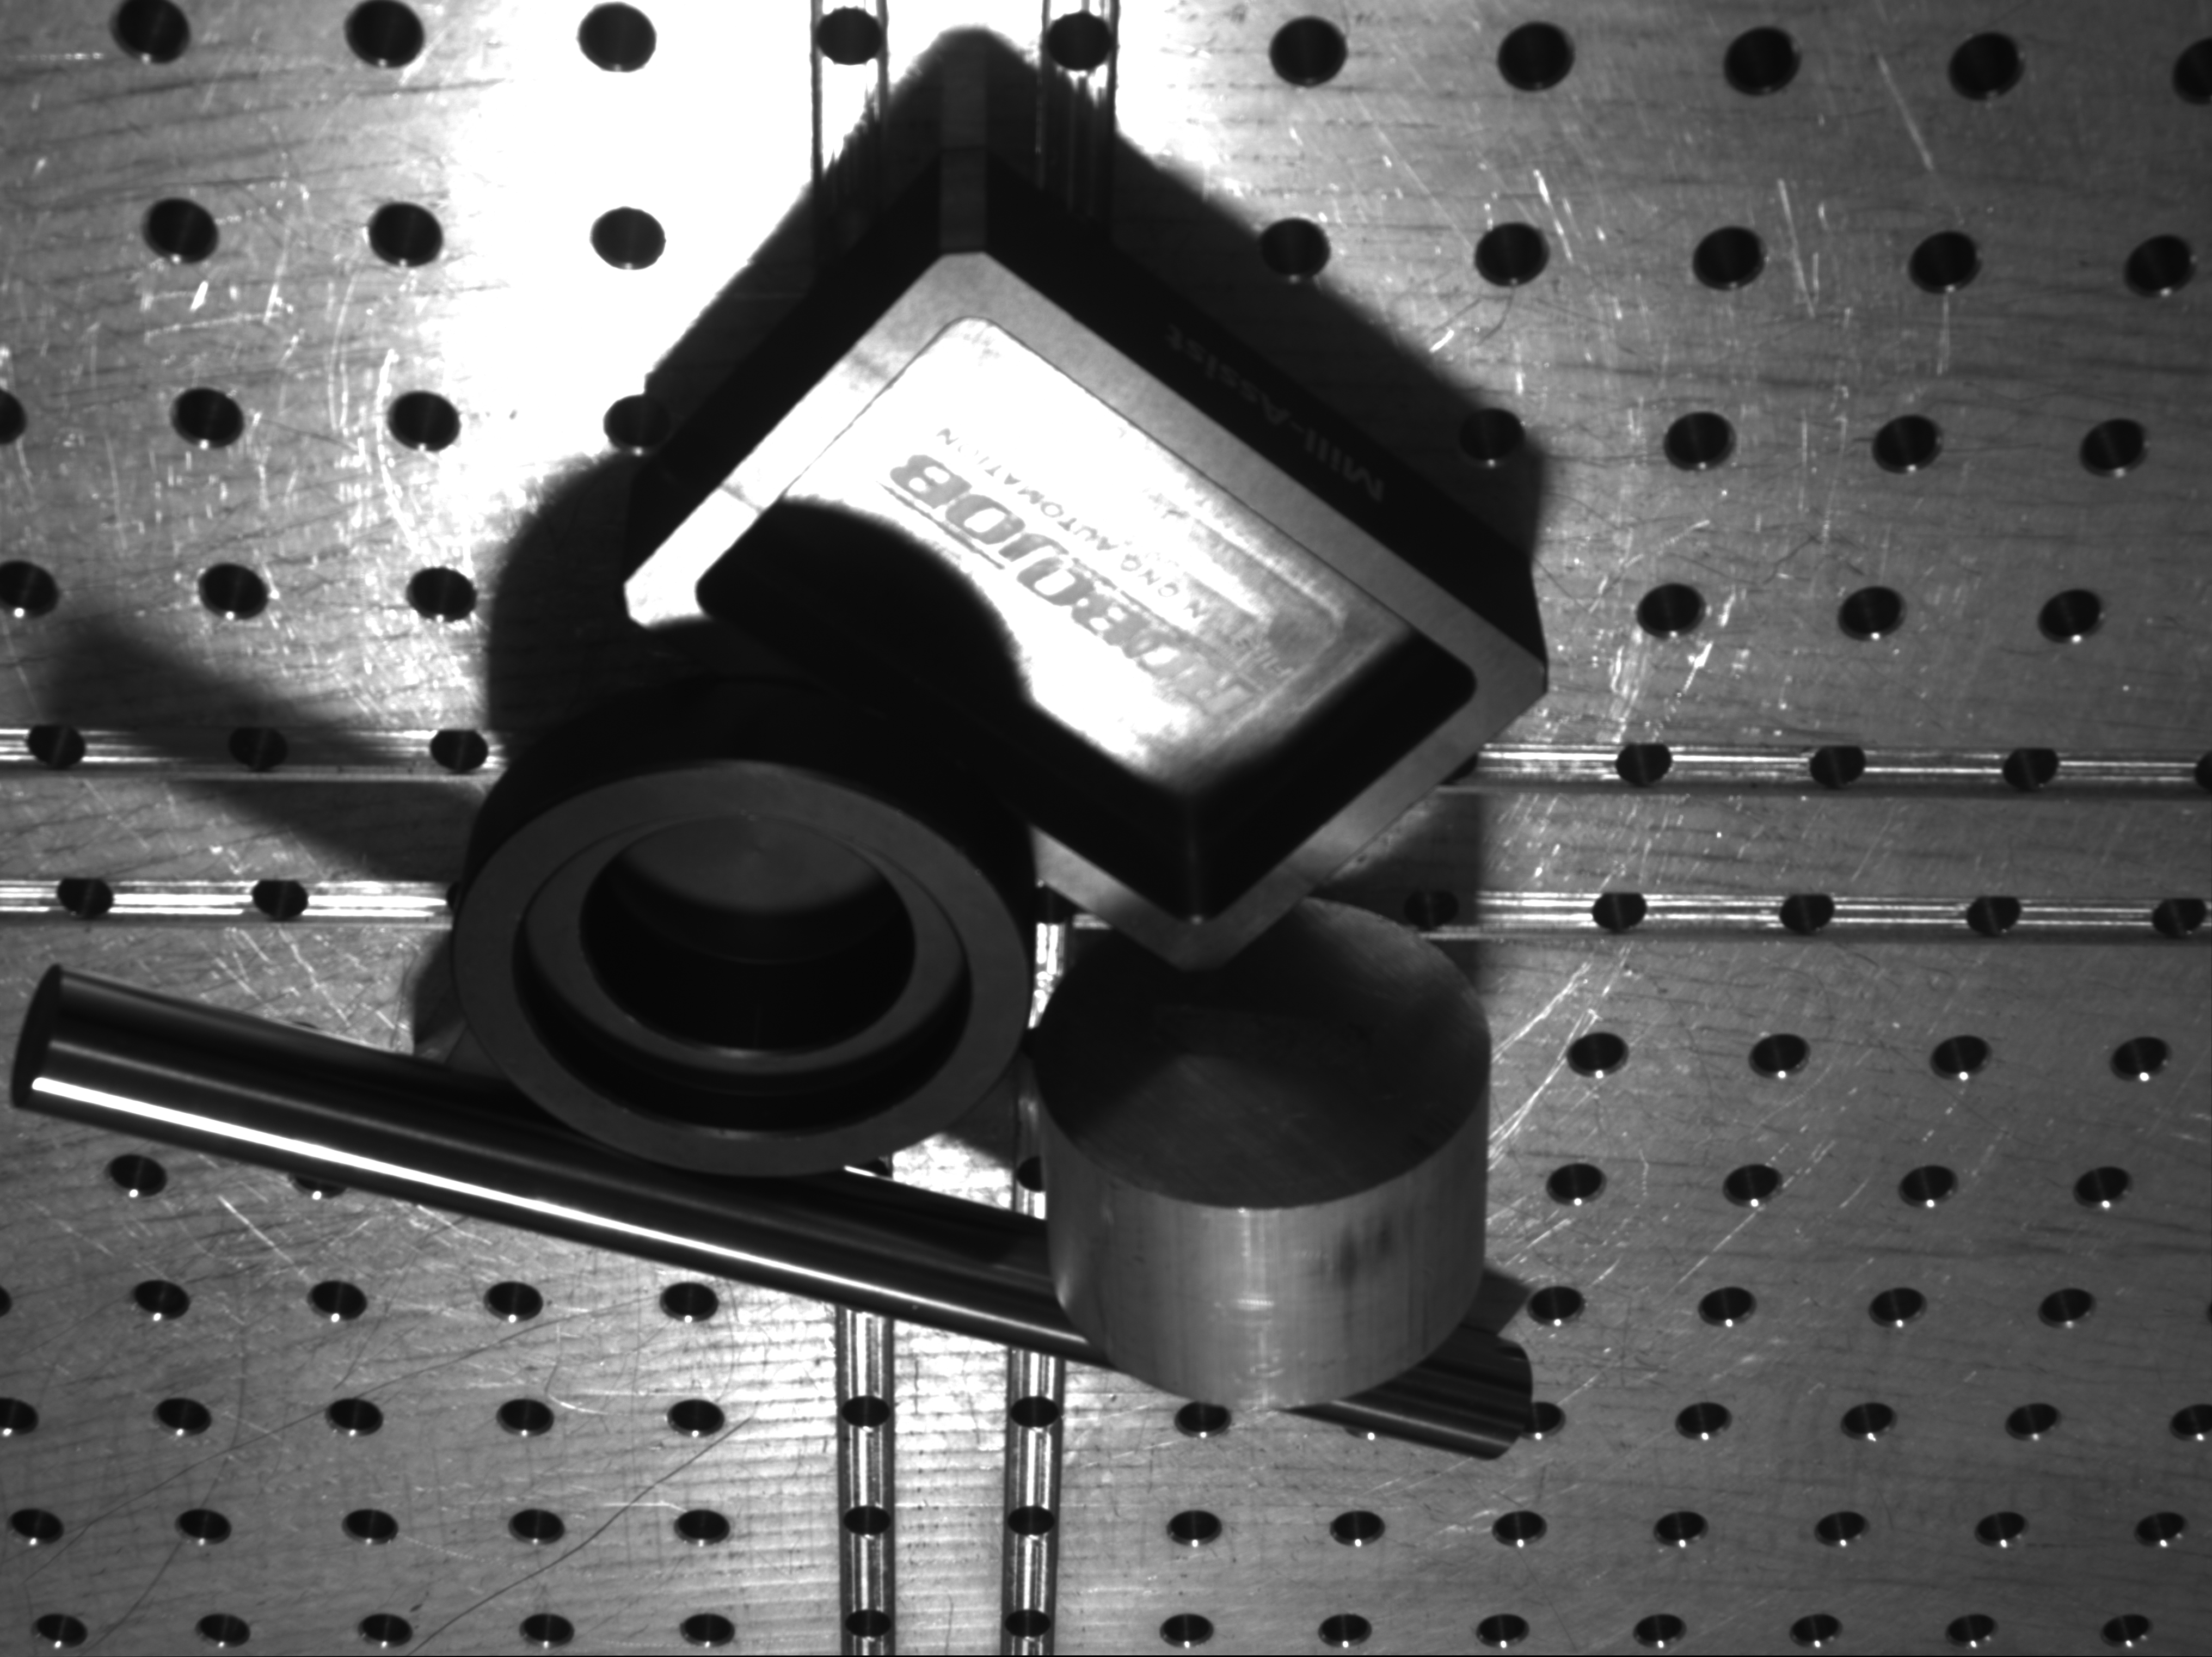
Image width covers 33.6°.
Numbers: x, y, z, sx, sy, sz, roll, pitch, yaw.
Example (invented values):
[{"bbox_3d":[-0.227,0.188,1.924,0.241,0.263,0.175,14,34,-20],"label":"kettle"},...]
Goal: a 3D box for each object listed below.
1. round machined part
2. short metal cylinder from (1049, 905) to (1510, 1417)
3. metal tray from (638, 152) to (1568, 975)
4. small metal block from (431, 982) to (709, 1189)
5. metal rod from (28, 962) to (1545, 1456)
[{"bbox_3d":[-0.057,0.012,0.628,0.098,0.042,0.098,0,130,1],"label":"round machined part"},{"bbox_3d":[0.031,0.058,0.653,0.080,0.080,0.050,-3,130,1],"label":"short metal cylinder"},{"bbox_3d":[0.000,-0.040,0.604,0.130,0.030,0.090,33,121,-26],"label":"metal tray"},{"bbox_3d":[-0.093,0.041,0.673,0.050,0.025,0.050,22,126,-19],"label":"small metal block"},{"bbox_3d":[-0.047,0.075,0.676,0.301,0.025,0.025,17,128,-27],"label":"metal rod"}]
